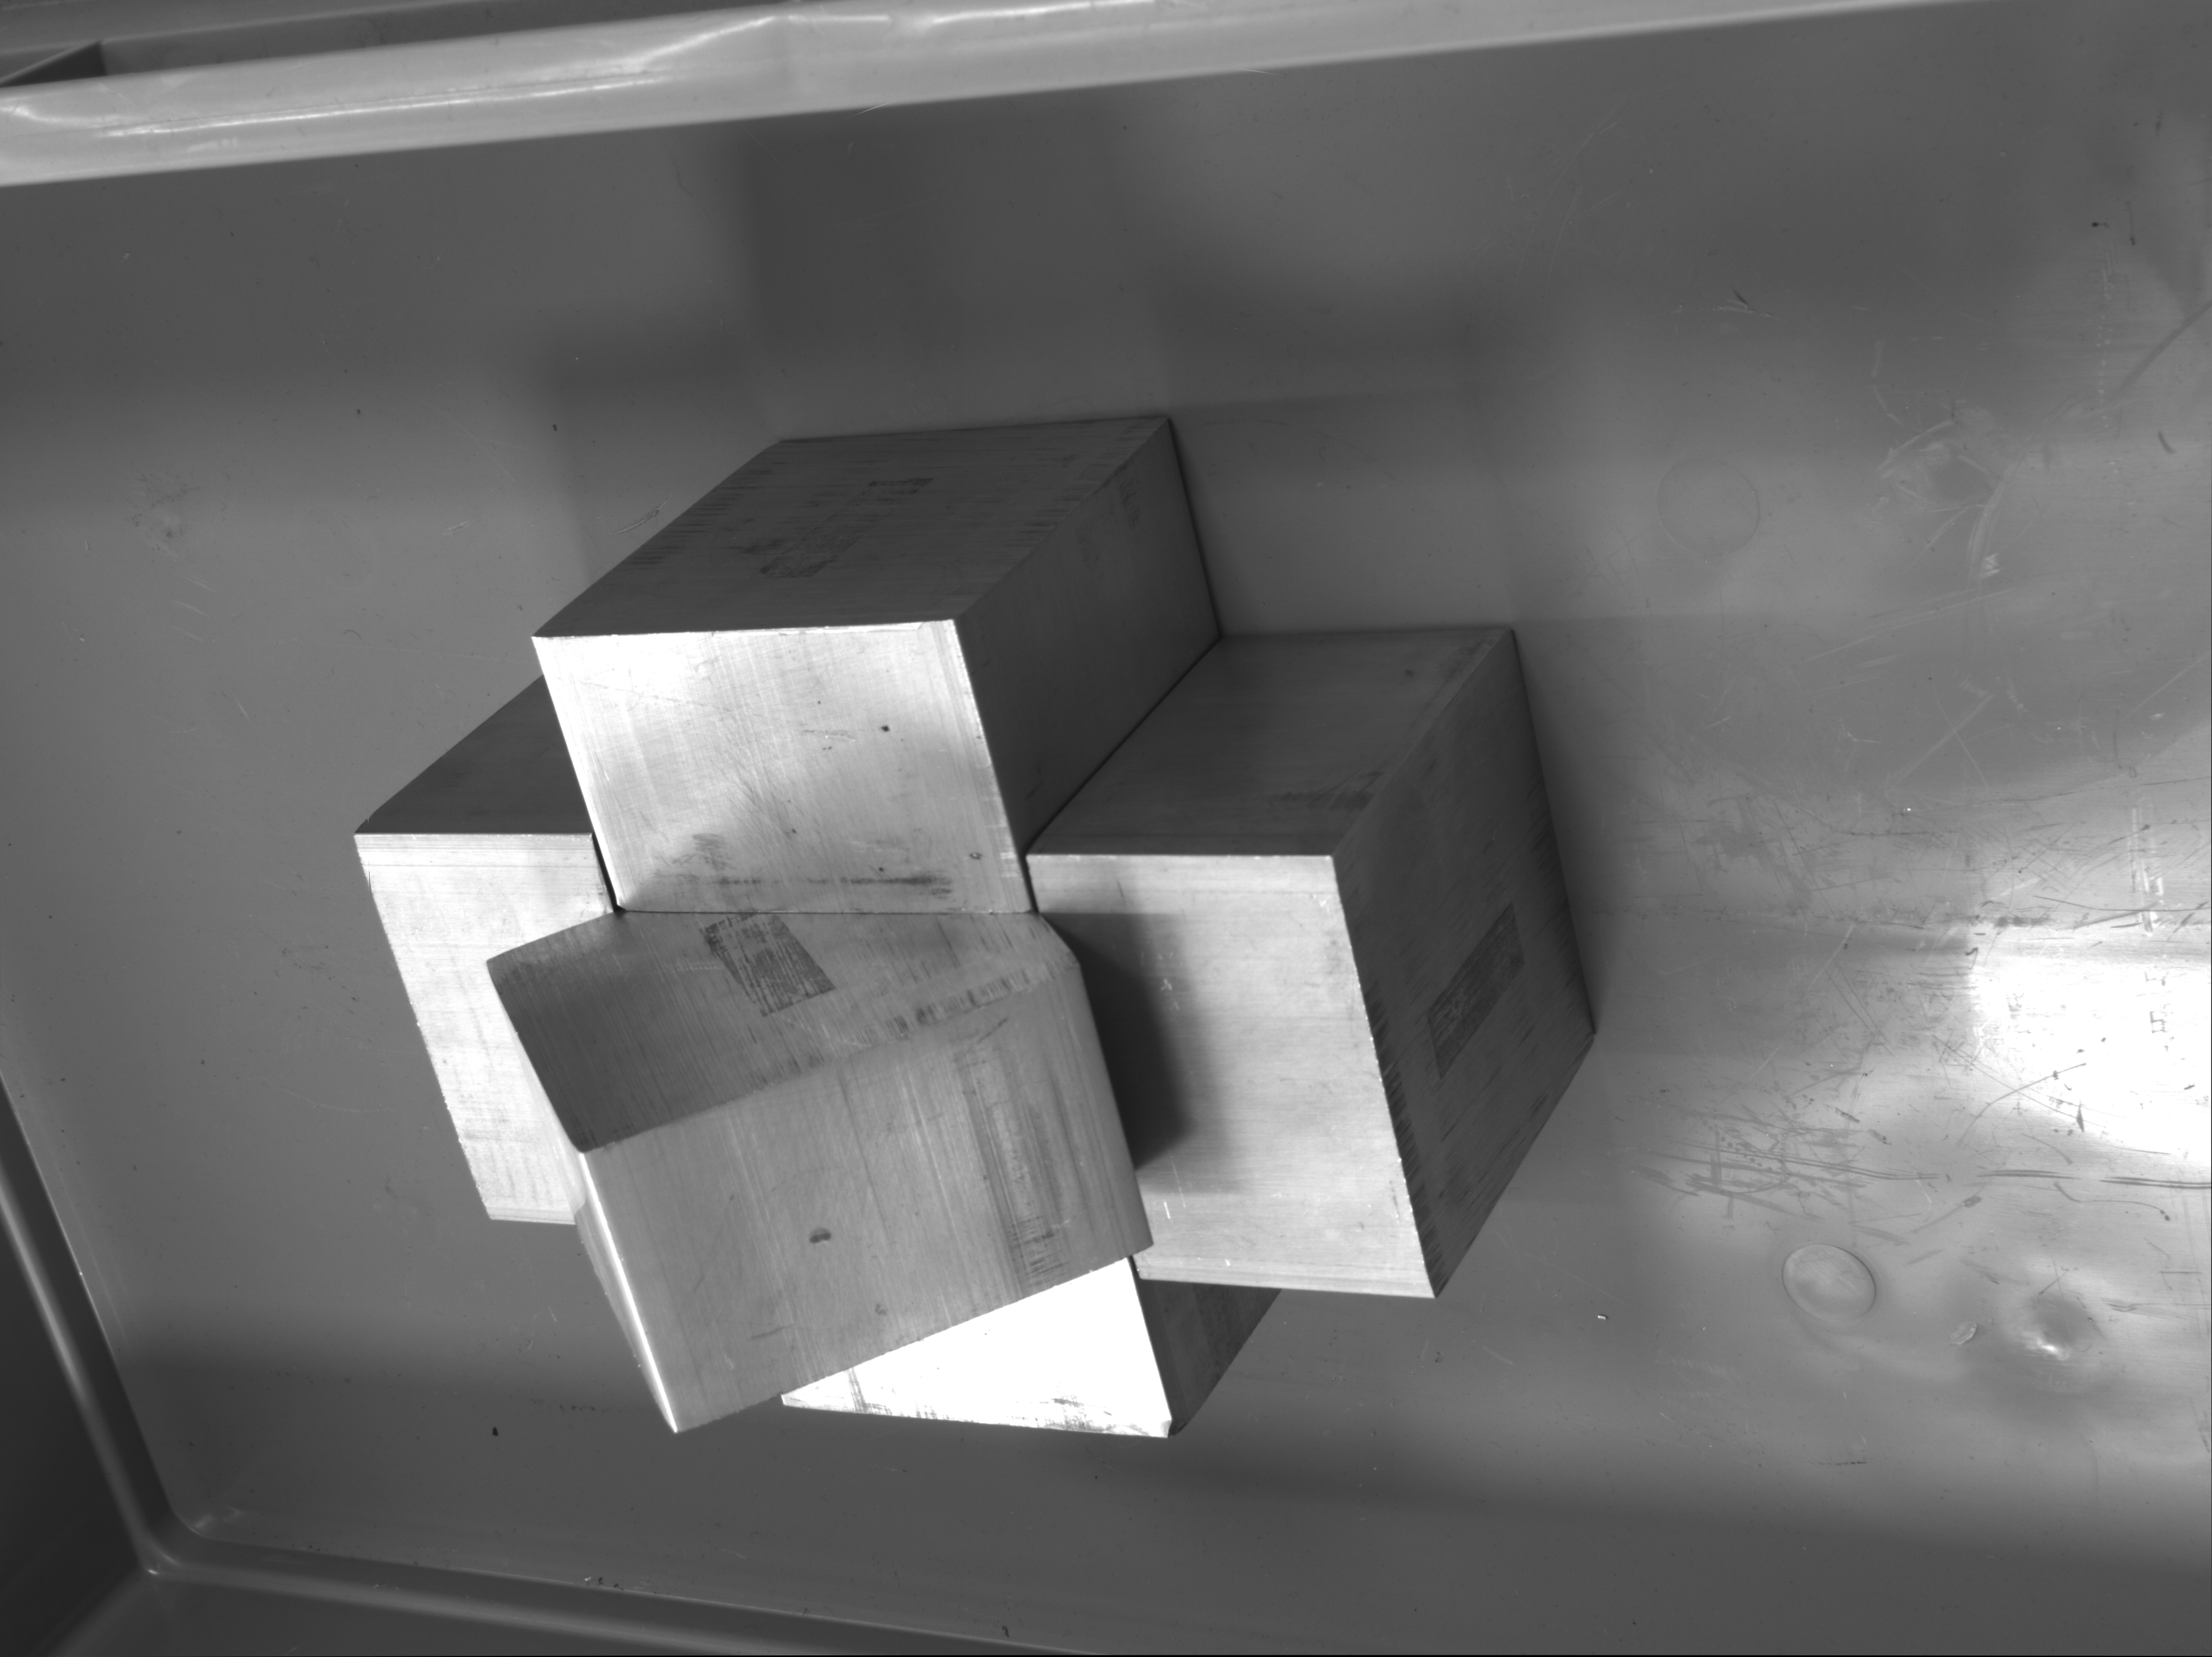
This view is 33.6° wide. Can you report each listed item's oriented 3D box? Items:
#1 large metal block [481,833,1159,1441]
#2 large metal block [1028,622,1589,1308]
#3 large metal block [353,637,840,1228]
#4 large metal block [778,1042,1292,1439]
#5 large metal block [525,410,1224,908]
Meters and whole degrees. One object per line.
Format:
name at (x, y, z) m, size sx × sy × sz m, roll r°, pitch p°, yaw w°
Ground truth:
large metal block at (-0.047, 0.043, 0.585) m, size 0.080 × 0.080 × 0.050 m, roll -20°, pitch 115°, yaw -12°
large metal block at (0.036, 0.021, 0.597) m, size 0.050 × 0.080 × 0.080 m, roll 0°, pitch 118°, yaw 28°
large metal block at (-0.080, 0.017, 0.660) m, size 0.050 × 0.080 × 0.080 m, roll 0°, pitch 118°, yaw 28°
large metal block at (-0.012, 0.061, 0.649) m, size 0.080 × 0.080 × 0.050 m, roll 0°, pitch 118°, yaw 28°
large metal block at (-0.035, -0.028, 0.607) m, size 0.080 × 0.080 × 0.050 m, roll 0°, pitch 118°, yaw 28°
